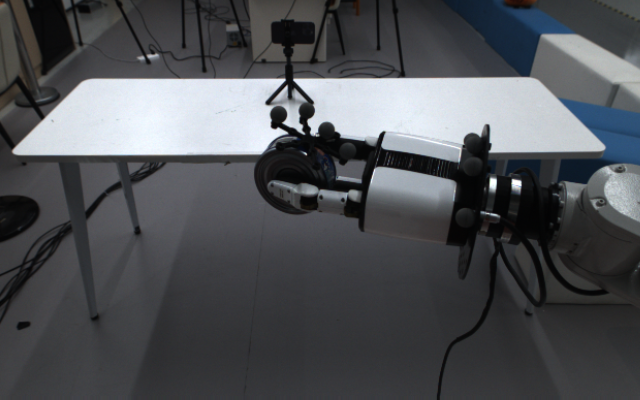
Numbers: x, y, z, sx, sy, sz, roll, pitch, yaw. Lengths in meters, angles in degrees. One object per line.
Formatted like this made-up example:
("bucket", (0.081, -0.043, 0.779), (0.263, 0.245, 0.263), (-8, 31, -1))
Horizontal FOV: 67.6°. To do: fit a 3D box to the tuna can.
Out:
("tuna can", (-0.024, -0.021, 0.526), (0.085, 0.085, 0.034), (12, 35, 14))
